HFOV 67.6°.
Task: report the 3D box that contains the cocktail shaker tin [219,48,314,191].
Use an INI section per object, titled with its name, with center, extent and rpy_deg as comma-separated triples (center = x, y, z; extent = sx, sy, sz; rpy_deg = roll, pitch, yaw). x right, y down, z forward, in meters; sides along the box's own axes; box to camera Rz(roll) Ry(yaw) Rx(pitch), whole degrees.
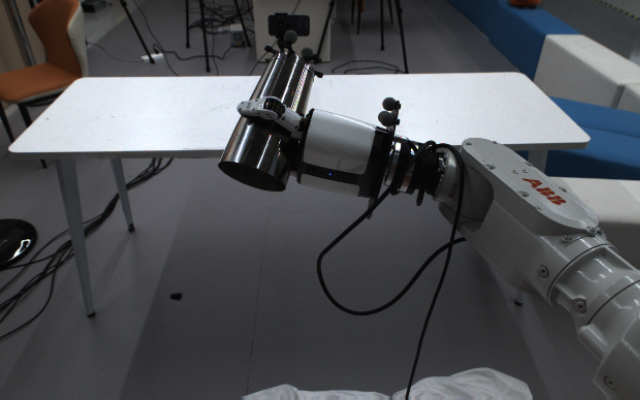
[cocktail shaker tin]
center = -0.063, -0.106, 0.647
extent = 0.093, 0.093, 0.170
rpy_deg = 14, 74, 16
